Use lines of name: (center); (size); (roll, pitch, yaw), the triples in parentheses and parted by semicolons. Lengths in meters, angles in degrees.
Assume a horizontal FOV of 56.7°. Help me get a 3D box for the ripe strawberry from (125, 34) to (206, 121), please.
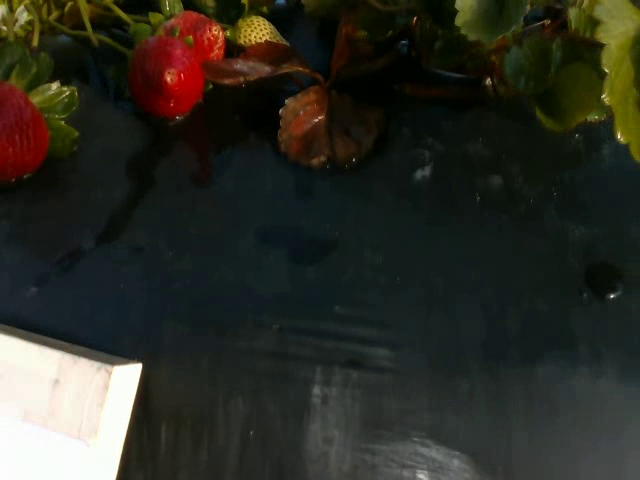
ripe strawberry: (-0.077, -0.078, 0.292); (0.041, 0.045, 0.055); (38, 1, -25)
